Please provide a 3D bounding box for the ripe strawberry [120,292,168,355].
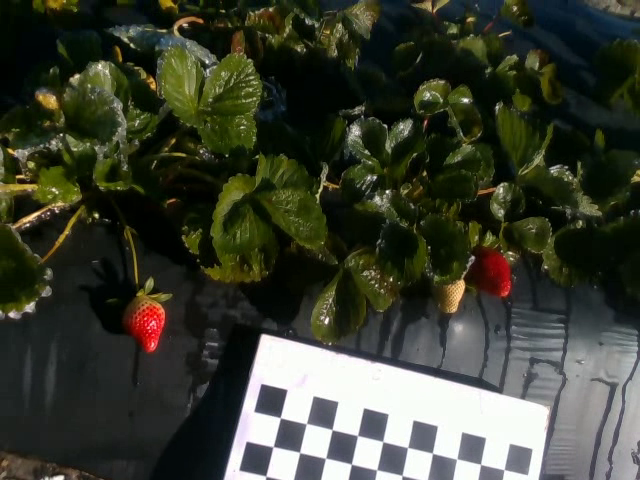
[{"bbox_3d":[-0.144,0.070,0.504,0.039,0.053,0.041,-6,-22,-13],"label":"ripe strawberry"}]
